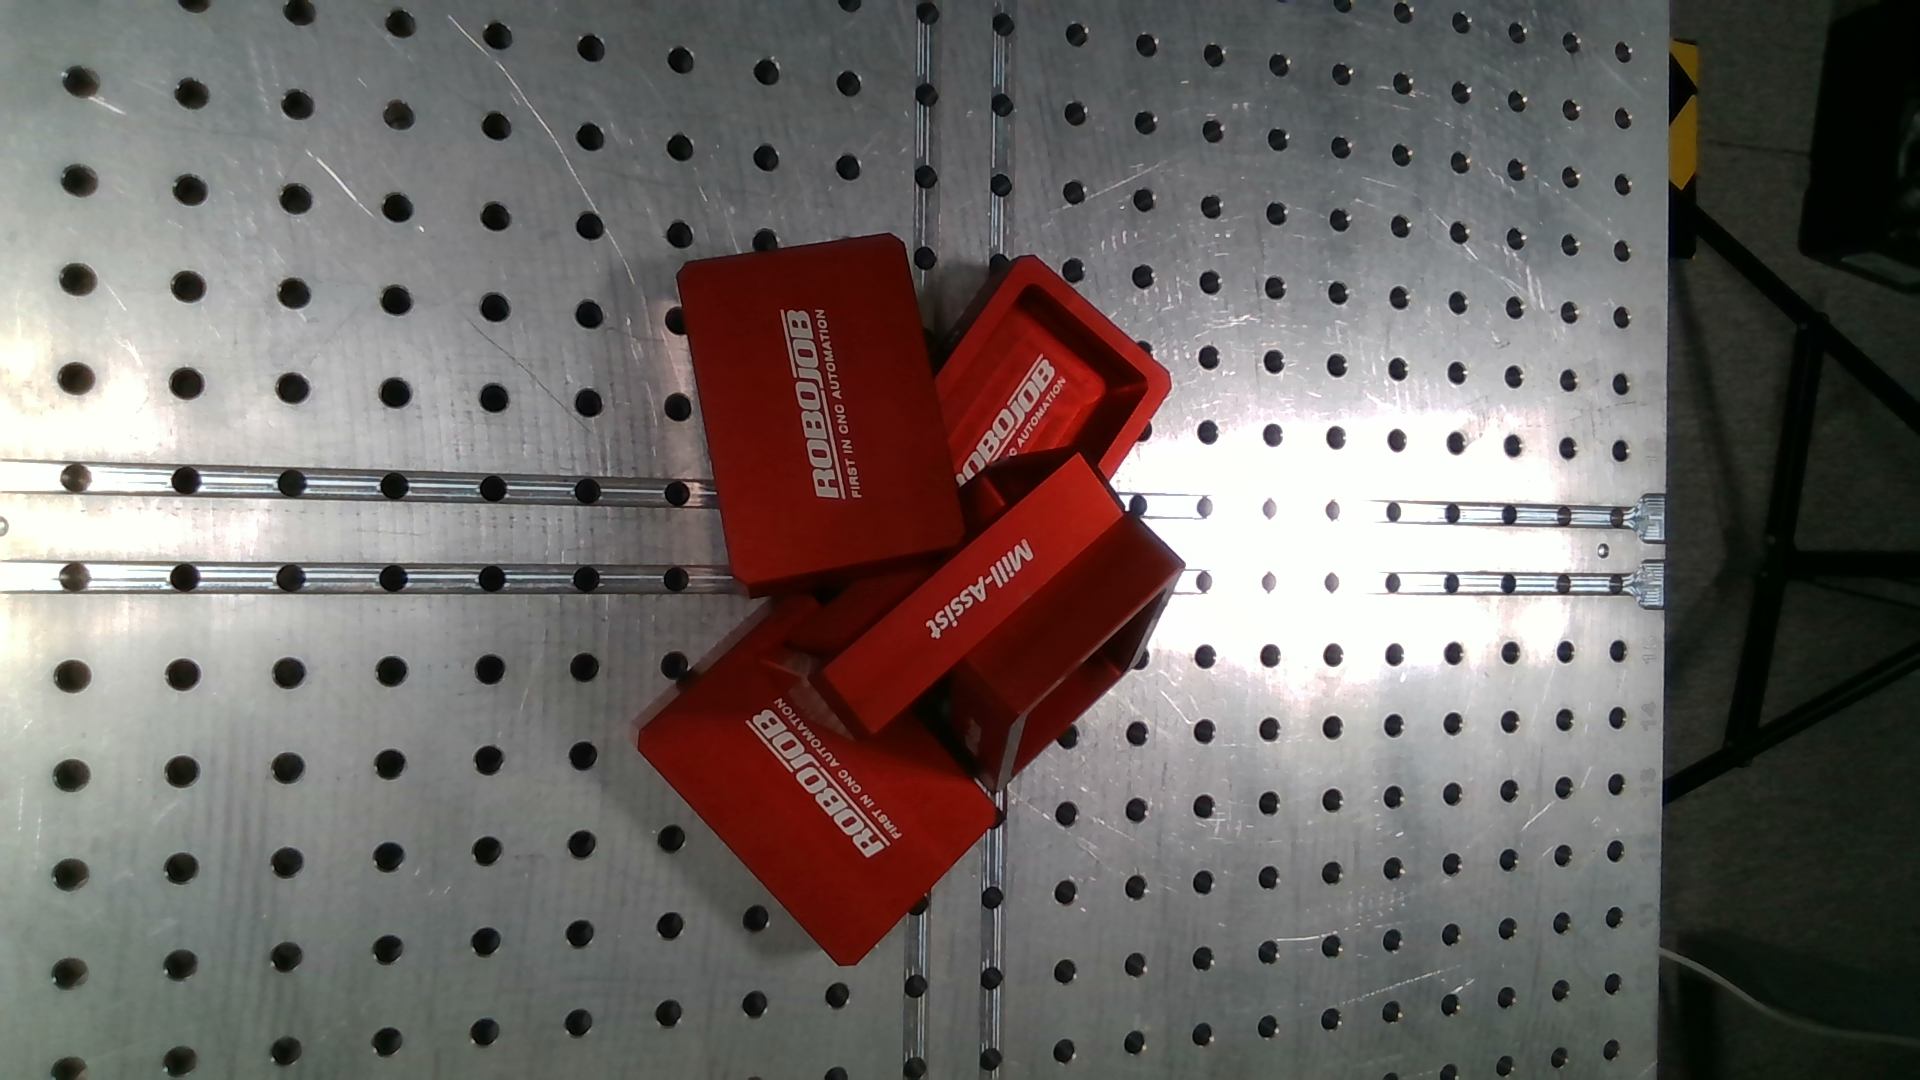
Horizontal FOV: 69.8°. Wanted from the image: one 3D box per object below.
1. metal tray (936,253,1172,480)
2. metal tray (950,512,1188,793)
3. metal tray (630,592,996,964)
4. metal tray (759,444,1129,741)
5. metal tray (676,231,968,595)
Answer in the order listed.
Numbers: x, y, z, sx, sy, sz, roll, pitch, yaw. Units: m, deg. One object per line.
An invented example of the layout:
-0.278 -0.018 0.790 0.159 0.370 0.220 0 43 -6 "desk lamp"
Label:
0.021 -0.045 0.593 0.090 0.030 0.130 38 78 -16 "metal tray"
0.039 0.049 0.548 0.090 0.130 0.030 -40 75 -16 "metal tray"
-0.059 0.096 0.563 0.090 0.030 0.130 -43 104 -15 "metal tray"
-0.008 0.017 0.518 0.130 0.090 0.030 -40 103 -16 "metal tray"
-0.055 -0.050 0.540 0.090 0.030 0.130 -11 79 -10 "metal tray"
